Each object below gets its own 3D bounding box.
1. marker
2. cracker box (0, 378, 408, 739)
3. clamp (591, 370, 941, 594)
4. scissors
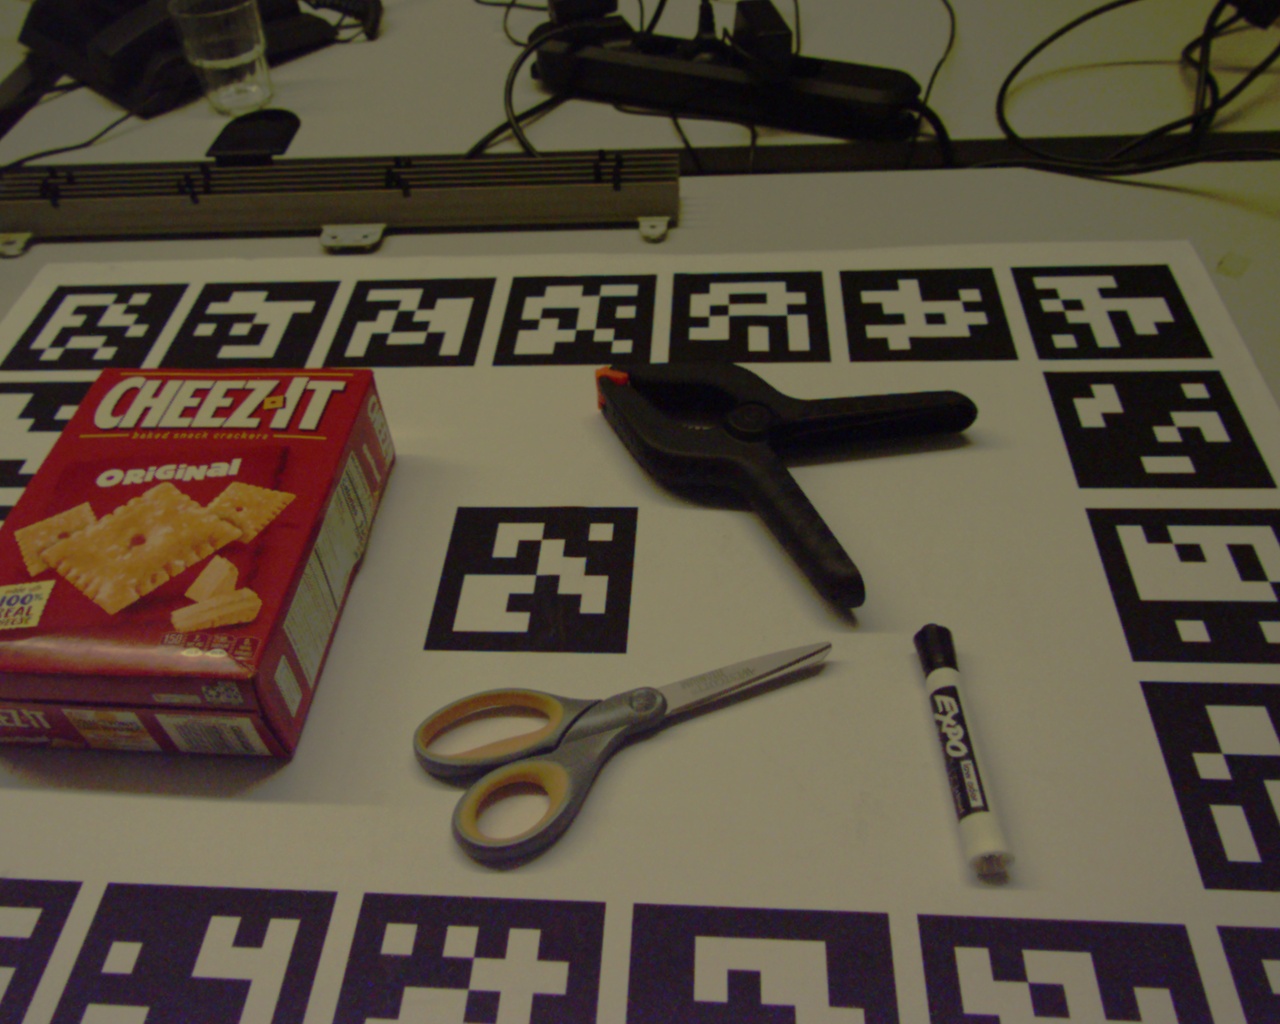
[{"bbox_3d":[0.140,0.089,0.540,0.020,0.019,0.121,-4,44,2],"label":"marker"},{"bbox_3d":[-0.232,0.015,0.619,0.165,0.071,0.214,0,45,6],"label":"cracker box"},{"bbox_3d":[0.056,-0.042,0.689,0.205,0.036,0.164,23,50,25],"label":"clamp"},{"bbox_3d":[-0.002,0.088,0.558,0.201,0.016,0.089,-20,45,-17],"label":"scissors"}]
